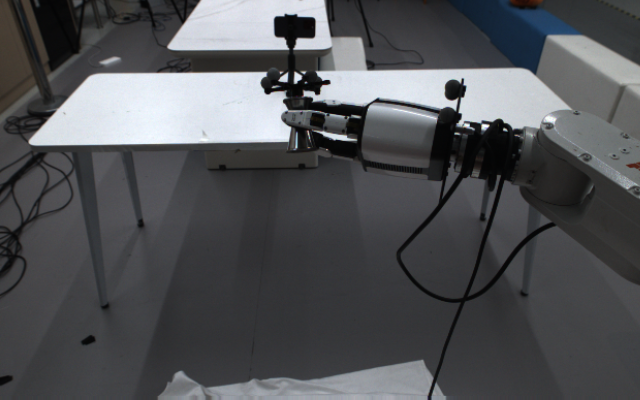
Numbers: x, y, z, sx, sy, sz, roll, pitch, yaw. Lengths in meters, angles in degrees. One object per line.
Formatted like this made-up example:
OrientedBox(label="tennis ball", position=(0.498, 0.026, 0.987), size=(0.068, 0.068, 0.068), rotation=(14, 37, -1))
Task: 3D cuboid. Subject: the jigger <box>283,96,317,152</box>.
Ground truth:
OrientedBox(label="jigger", position=(-0.027, -0.098, 0.633), size=(0.043, 0.071, 0.043), rotation=(-4, 1, 0))
